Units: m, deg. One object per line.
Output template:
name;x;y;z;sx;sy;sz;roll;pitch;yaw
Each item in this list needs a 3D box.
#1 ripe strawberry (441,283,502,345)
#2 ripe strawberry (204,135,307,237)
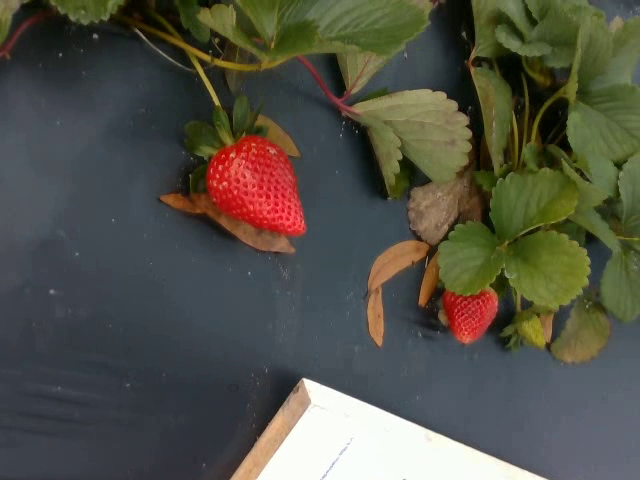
ripe strawberry;0.092;0.049;0.374;0.037;0.042;0.040;-20;-49;43
ripe strawberry;-0.027;-0.020;0.305;0.065;0.047;0.042;46;14;22
